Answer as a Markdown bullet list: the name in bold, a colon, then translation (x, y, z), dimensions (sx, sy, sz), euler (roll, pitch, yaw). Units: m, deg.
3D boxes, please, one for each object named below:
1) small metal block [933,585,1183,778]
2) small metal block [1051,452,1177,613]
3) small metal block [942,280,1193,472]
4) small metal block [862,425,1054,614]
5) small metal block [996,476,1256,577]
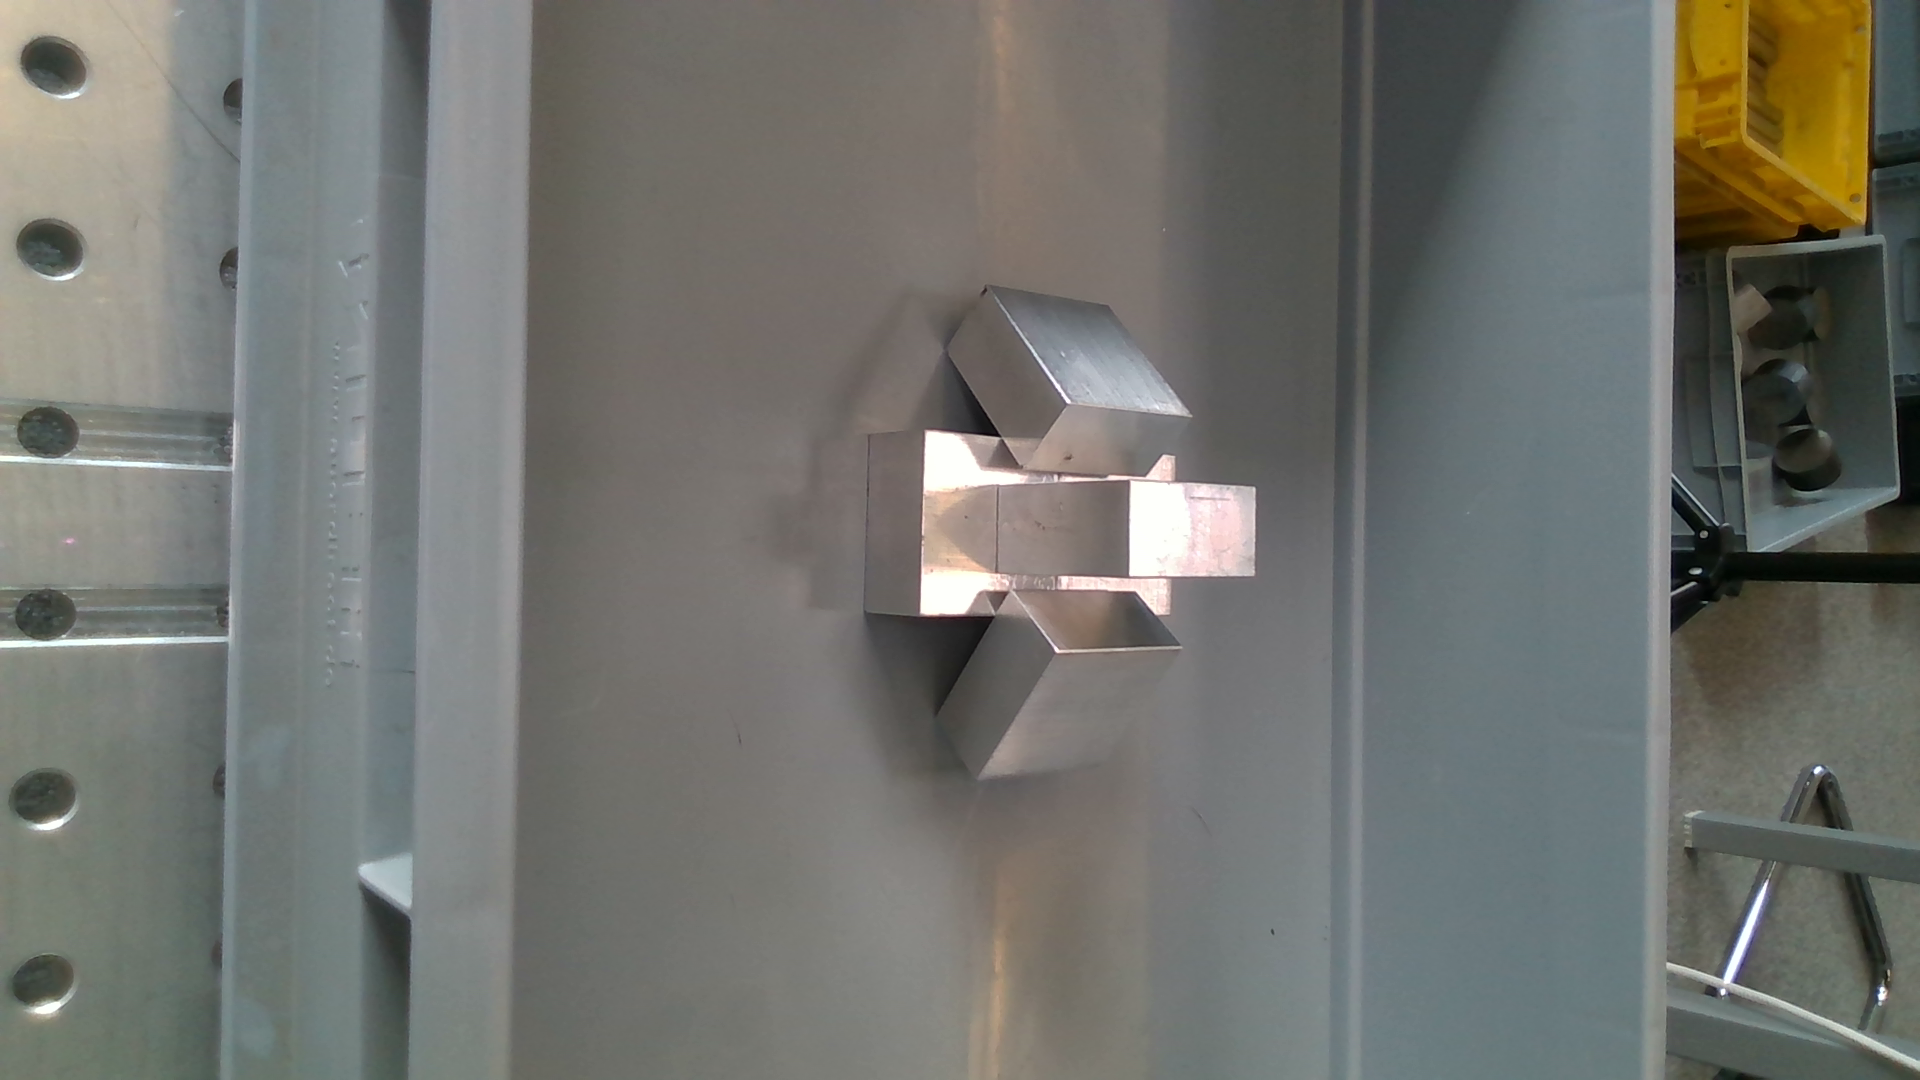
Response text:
- **small metal block**: translation (0.028, 0.040, 0.398), dimensions (0.050, 0.025, 0.050), euler (2, 128, -40)
- **small metal block**: translation (0.040, -0.003, 0.422), dimensions (0.050, 0.025, 0.050), euler (3, 89, -40)
- **small metal block**: translation (0.031, -0.046, 0.398), dimensions (0.050, 0.025, 0.050), euler (1, 46, -40)
- **small metal block**: translation (0.001, -0.004, 0.390), dimensions (0.050, 0.025, 0.050), euler (3, 88, -40)
- **small metal block**: translation (0.045, -0.003, 0.378), dimensions (0.050, 0.050, 0.025), euler (1, 90, -40)
